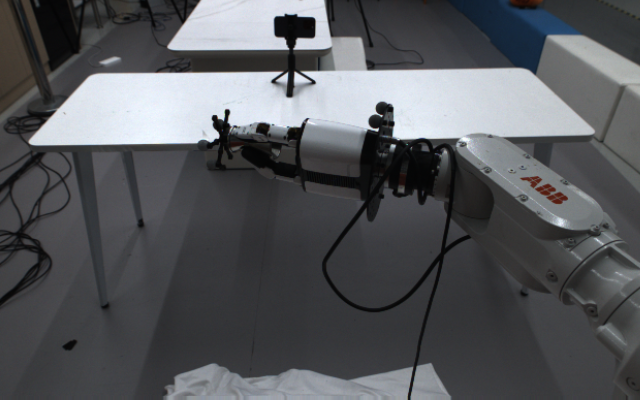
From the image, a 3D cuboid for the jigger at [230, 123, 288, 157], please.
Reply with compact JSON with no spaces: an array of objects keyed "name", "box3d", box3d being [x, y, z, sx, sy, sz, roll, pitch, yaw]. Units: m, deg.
[{"name":"jigger","box3d":[-0.088,-0.089,0.698,0.071,0.043,0.043,7,35,15]}]
